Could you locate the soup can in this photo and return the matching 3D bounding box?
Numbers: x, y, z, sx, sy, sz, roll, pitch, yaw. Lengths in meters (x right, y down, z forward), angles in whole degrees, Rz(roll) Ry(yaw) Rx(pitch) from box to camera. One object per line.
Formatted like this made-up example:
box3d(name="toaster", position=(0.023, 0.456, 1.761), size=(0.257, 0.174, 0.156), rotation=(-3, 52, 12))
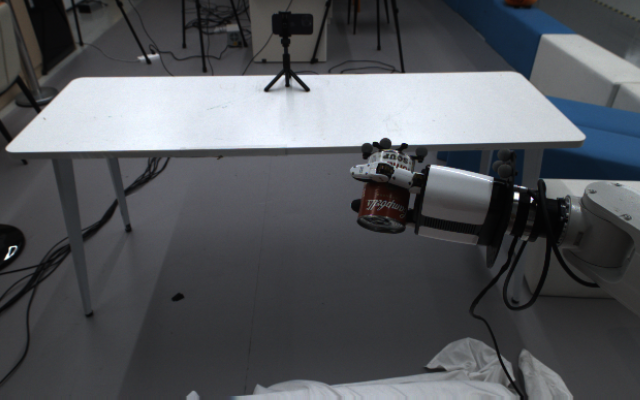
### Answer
box3d(name="soup can", position=(0.094, -0.012, 0.678), size=(0.067, 0.067, 0.101), rotation=(9, 71, 9))
